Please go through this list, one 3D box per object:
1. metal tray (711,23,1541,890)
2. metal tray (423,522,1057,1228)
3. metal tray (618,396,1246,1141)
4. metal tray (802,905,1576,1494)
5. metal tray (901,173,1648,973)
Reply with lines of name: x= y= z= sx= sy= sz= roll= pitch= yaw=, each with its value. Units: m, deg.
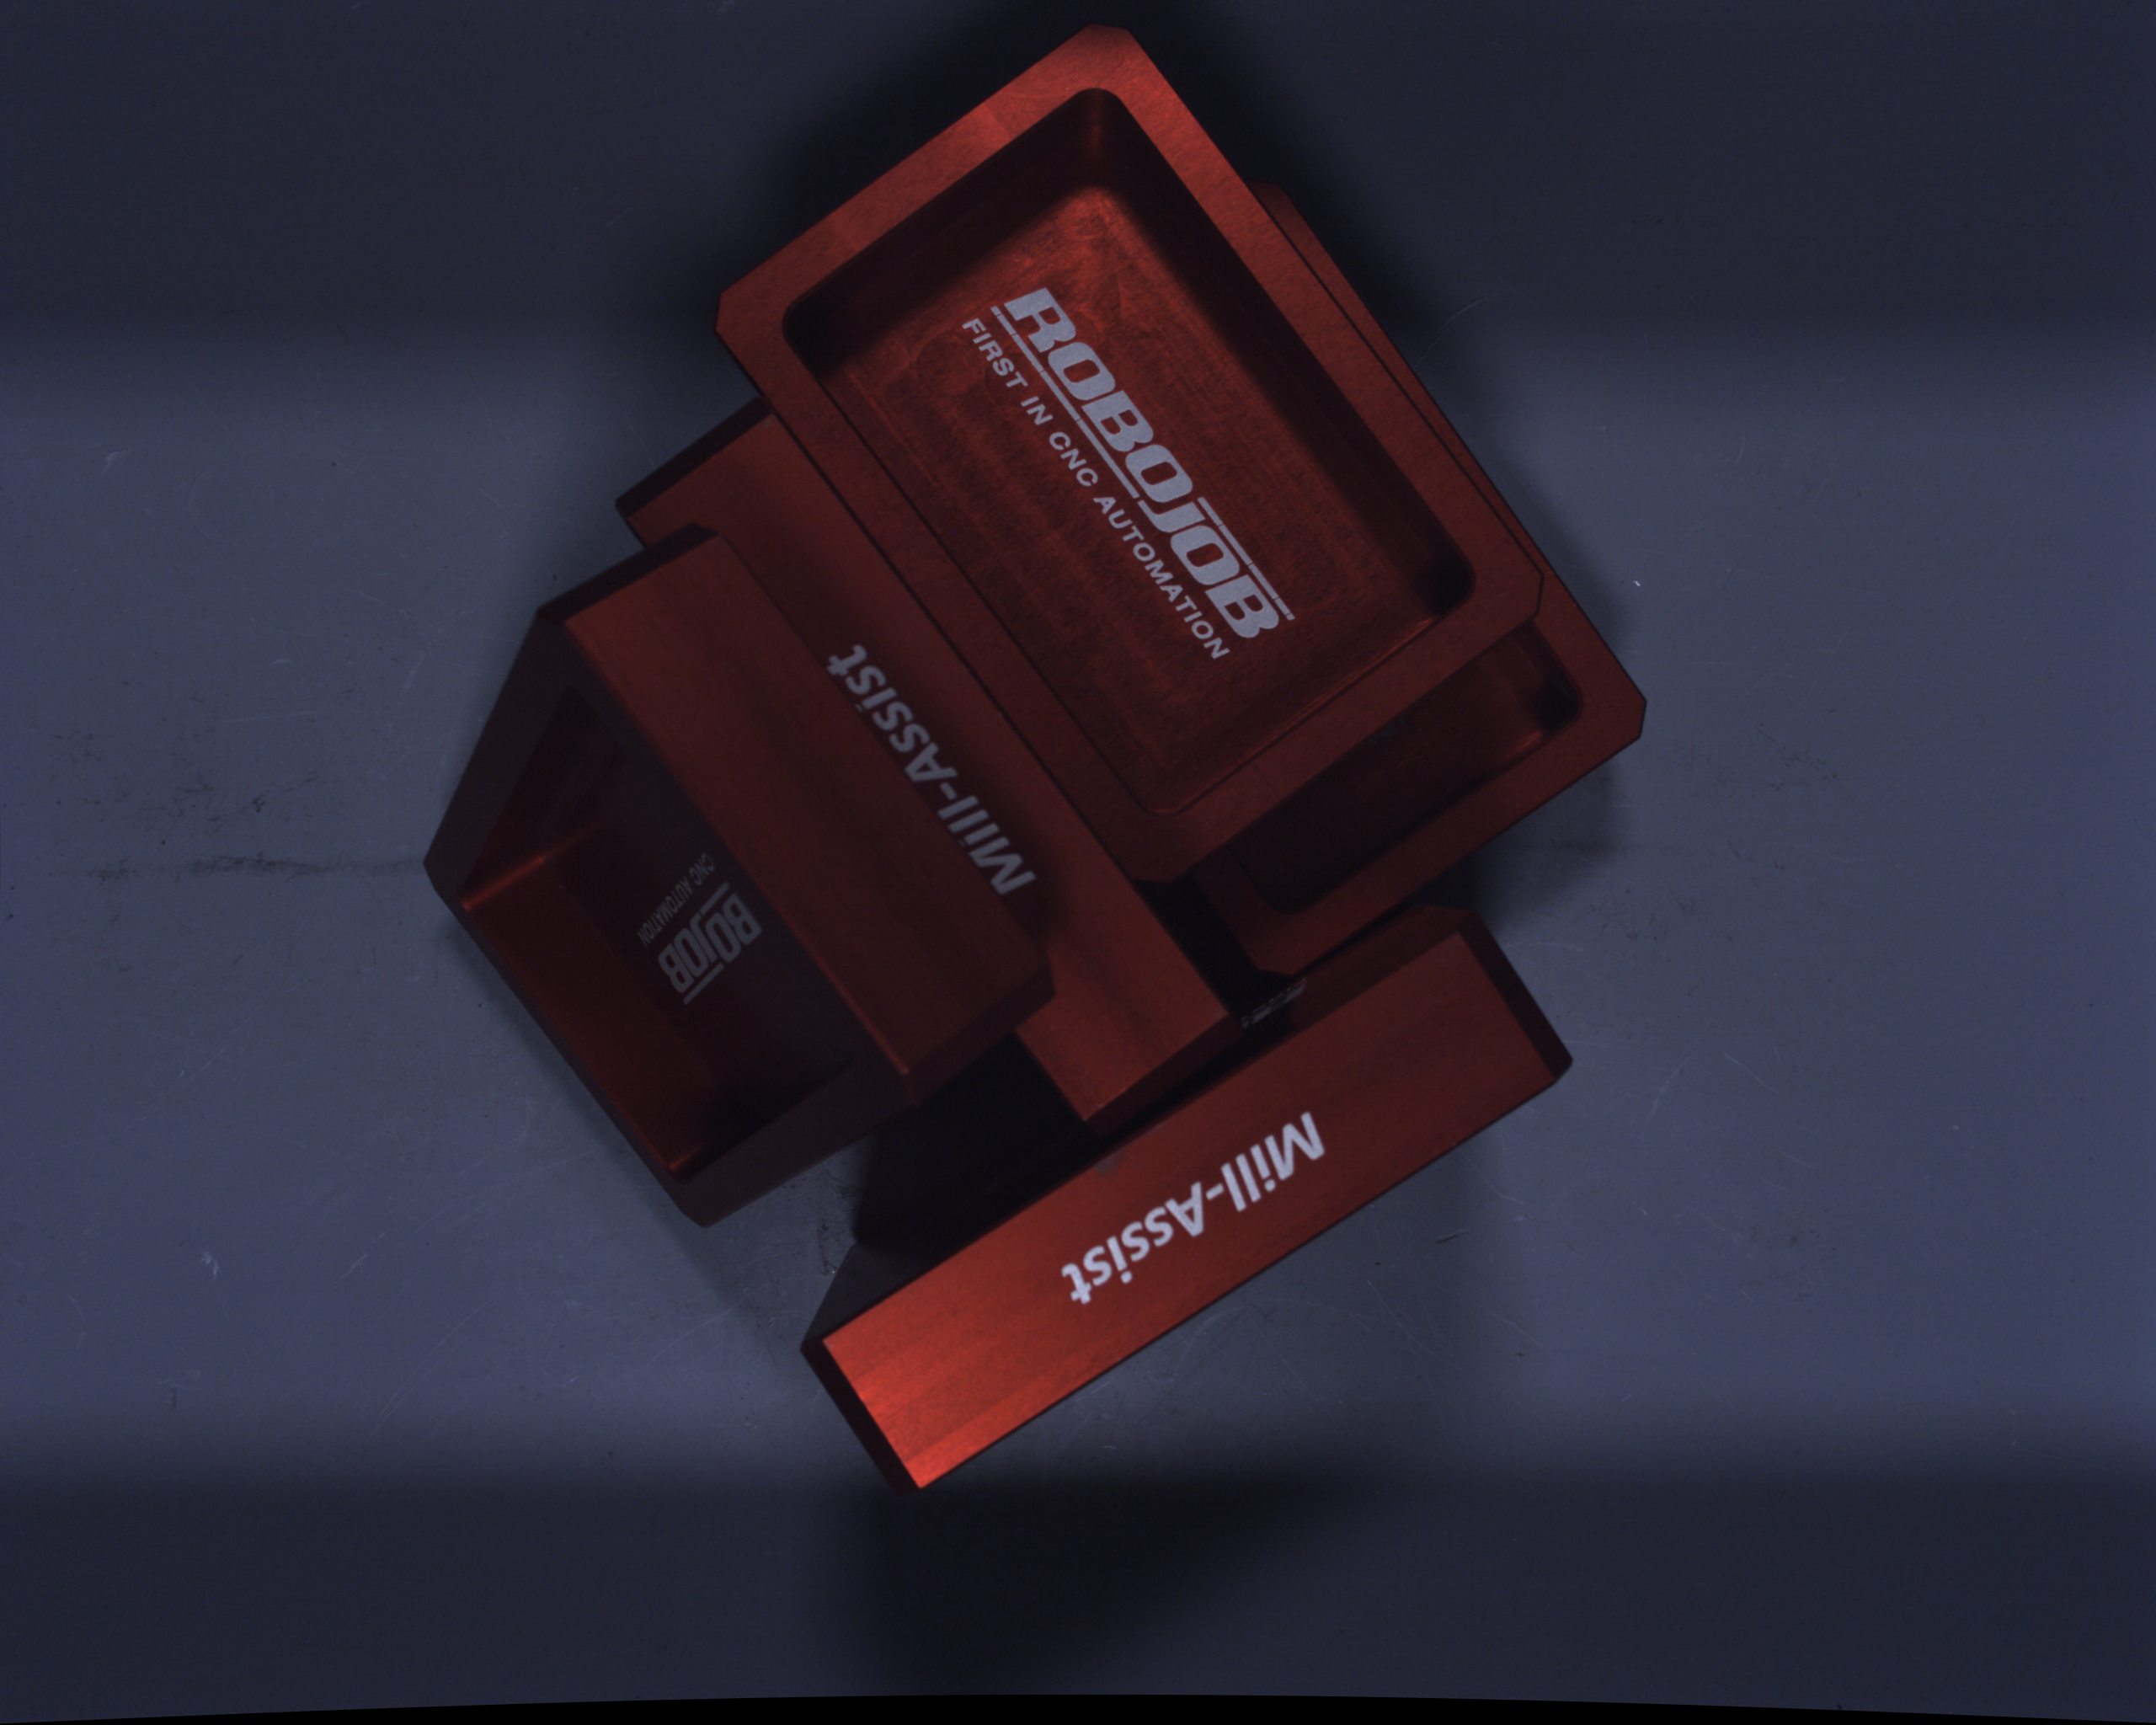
metal tray: x=0.008 y=-0.071 z=0.377 sx=0.090 sy=0.030 sz=0.130 roll=-36 pitch=90 yaw=0
metal tray: x=-0.065 y=0.010 z=0.358 sx=0.030 sy=0.129 sz=0.090 roll=-37 pitch=91 yaw=-31
metal tray: x=-0.024 y=-0.015 z=0.376 sx=0.030 sy=0.090 sz=0.130 roll=-37 pitch=90 yaw=0
metal tray: x=0.018 y=0.055 z=0.378 sx=0.130 sy=0.090 sz=0.030 roll=-32 pitch=90 yaw=0
metal tray: x=0.037 y=-0.055 z=0.409 sx=0.090 sy=0.030 sz=0.130 roll=-34 pitch=89 yaw=1
